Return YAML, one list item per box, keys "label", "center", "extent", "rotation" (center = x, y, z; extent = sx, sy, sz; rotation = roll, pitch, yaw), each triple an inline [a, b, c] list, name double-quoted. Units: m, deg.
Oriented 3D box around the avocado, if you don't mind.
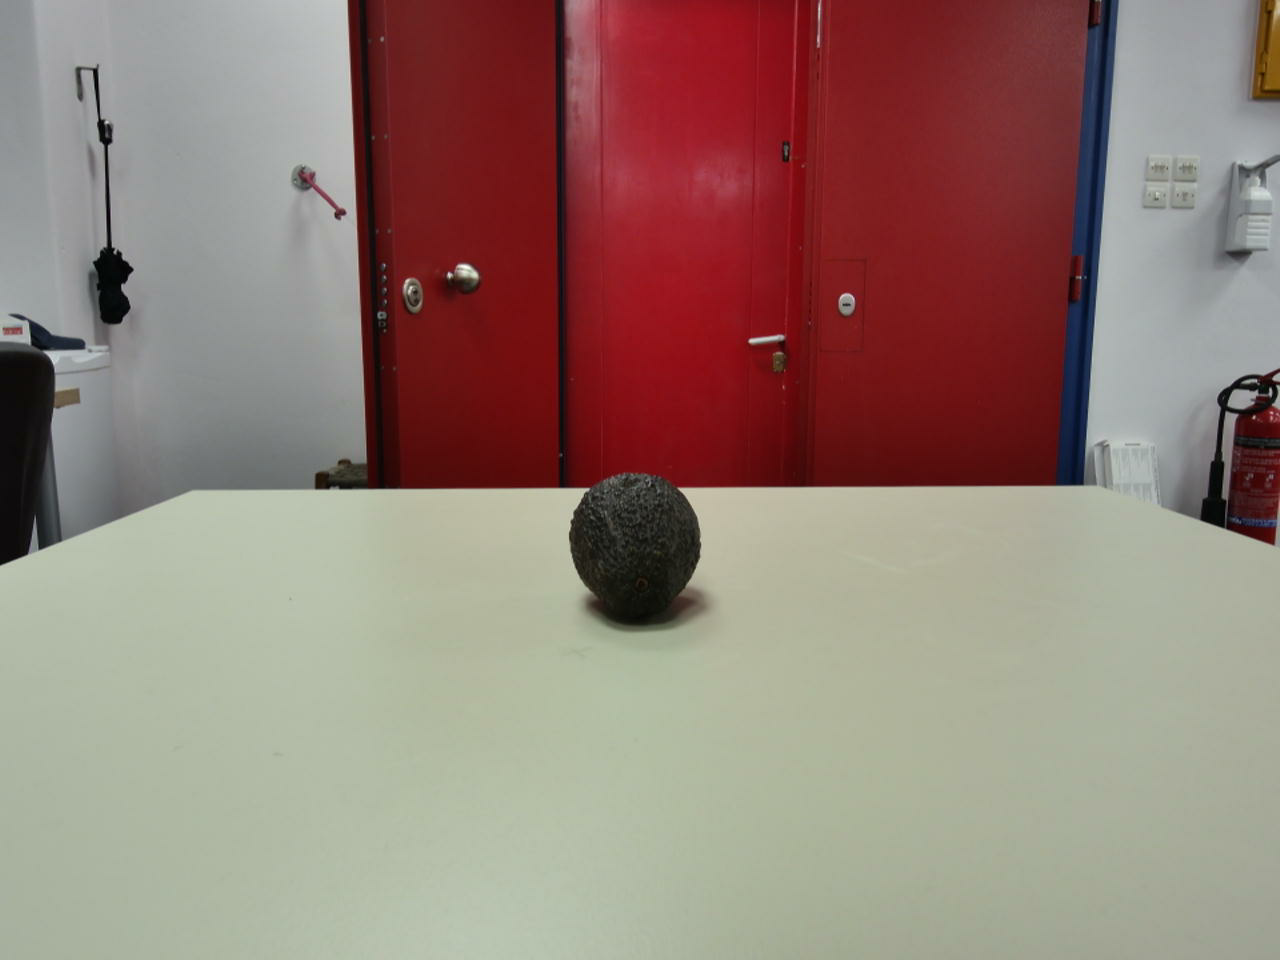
- label: "avocado"
  center: [-0.004, 0.031, 0.521]
  extent: [0.070, 0.069, 0.090]
  rotation: [4, 7, 24]
